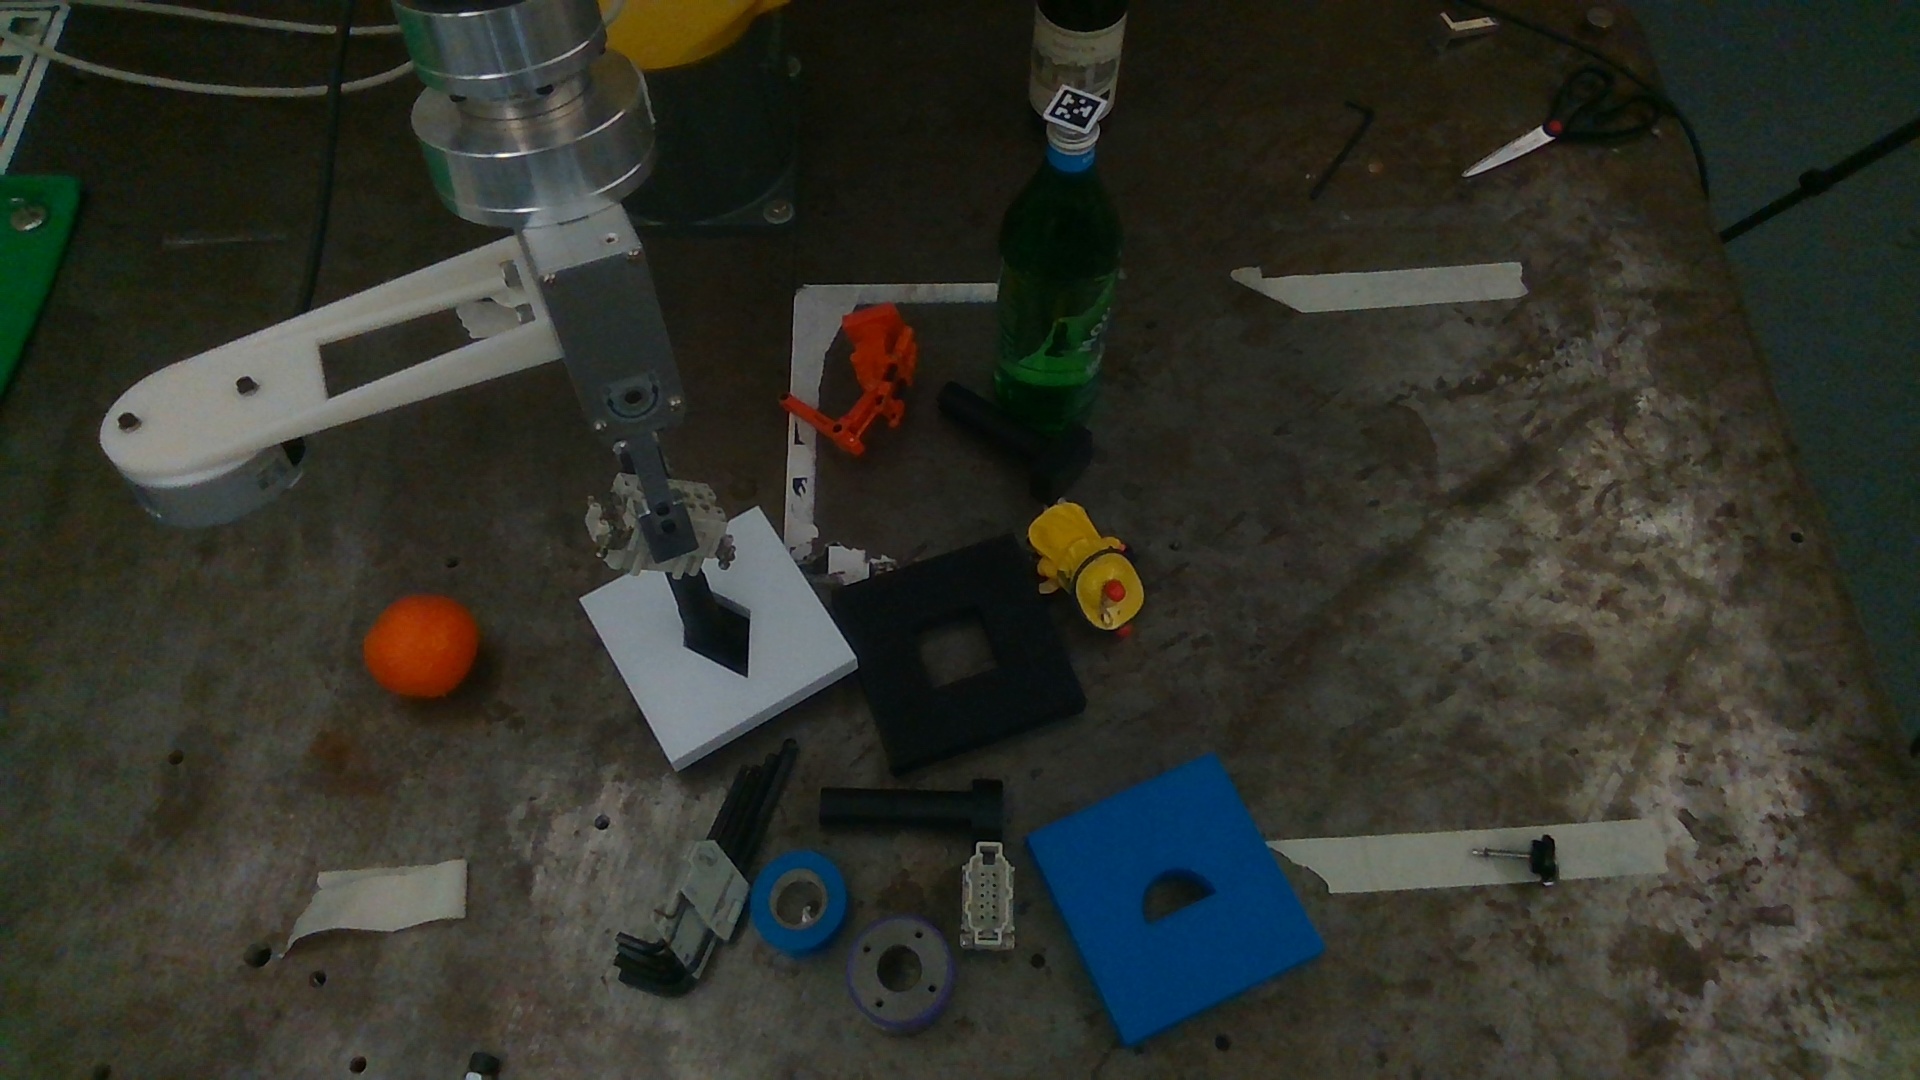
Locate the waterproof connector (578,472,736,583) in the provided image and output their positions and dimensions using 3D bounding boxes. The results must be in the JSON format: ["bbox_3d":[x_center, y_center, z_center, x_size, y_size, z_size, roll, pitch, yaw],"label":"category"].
[{"bbox_3d":[-0.135,-0.004,0.619,0.069,0.038,0.037,5,34,-38],"label":"waterproof connector"}]
